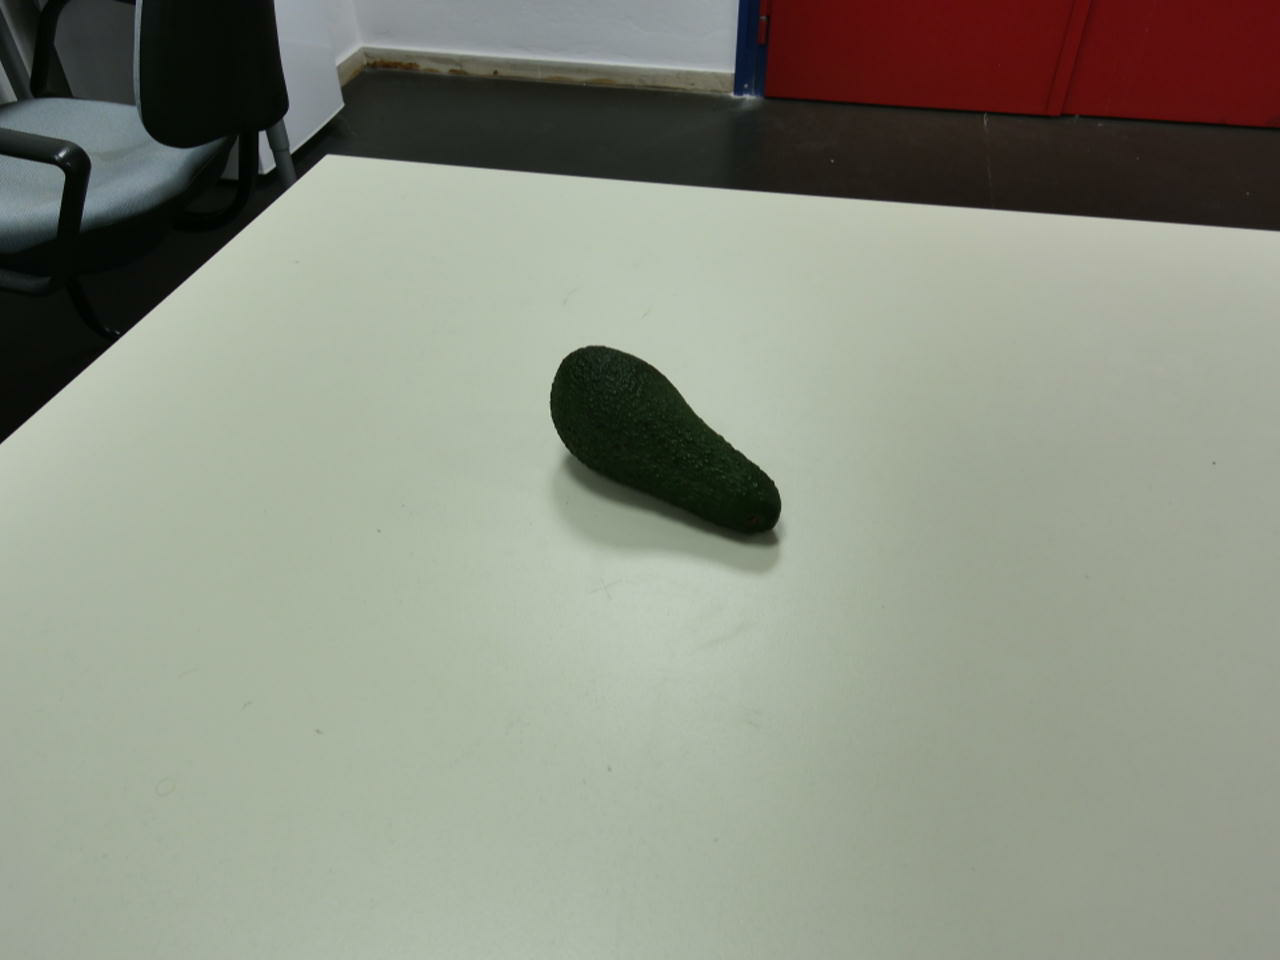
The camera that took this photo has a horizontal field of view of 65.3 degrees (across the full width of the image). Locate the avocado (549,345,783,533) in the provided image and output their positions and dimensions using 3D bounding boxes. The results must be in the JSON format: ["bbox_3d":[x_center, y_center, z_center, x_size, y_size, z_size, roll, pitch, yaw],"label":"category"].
[{"bbox_3d":[0.014,-0.026,0.512,0.141,0.067,0.063,18,42,22],"label":"avocado"}]
